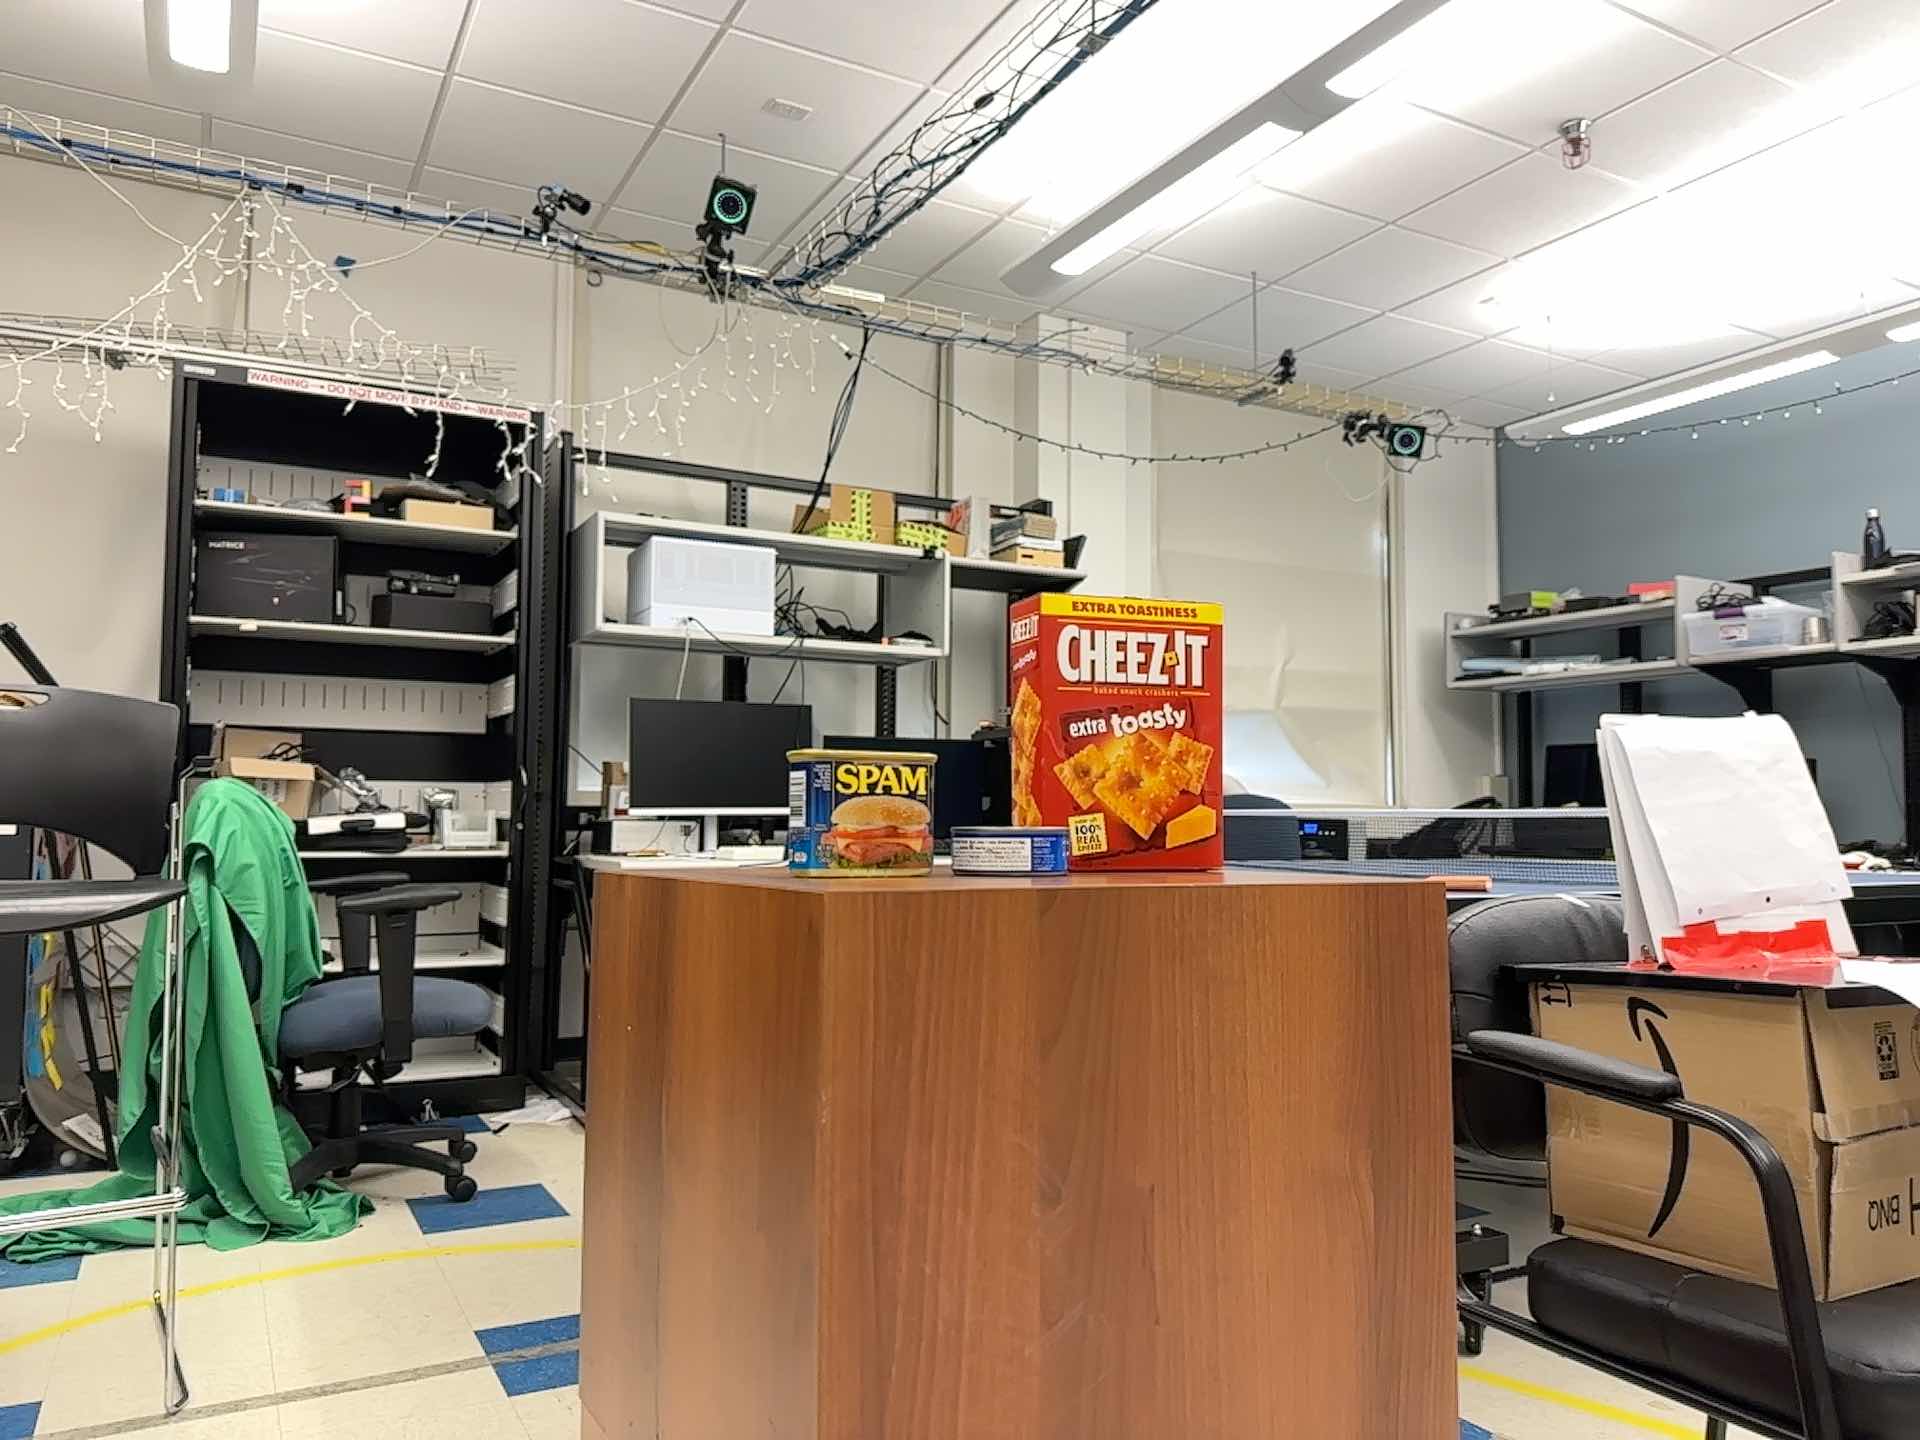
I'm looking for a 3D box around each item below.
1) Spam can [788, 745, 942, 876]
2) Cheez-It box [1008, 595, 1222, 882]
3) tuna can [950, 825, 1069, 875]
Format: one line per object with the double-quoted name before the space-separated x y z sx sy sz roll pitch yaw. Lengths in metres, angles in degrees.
"Spam can" -0.066 0.062 0.922 0.100 0.083 0.056 3 -5 -20
"Cheez-It box" 0.125 0.017 1.089 0.159 0.214 0.062 3 -5 -22
"tuna can" 0.035 0.093 0.967 0.083 0.034 0.083 0 -6 0
